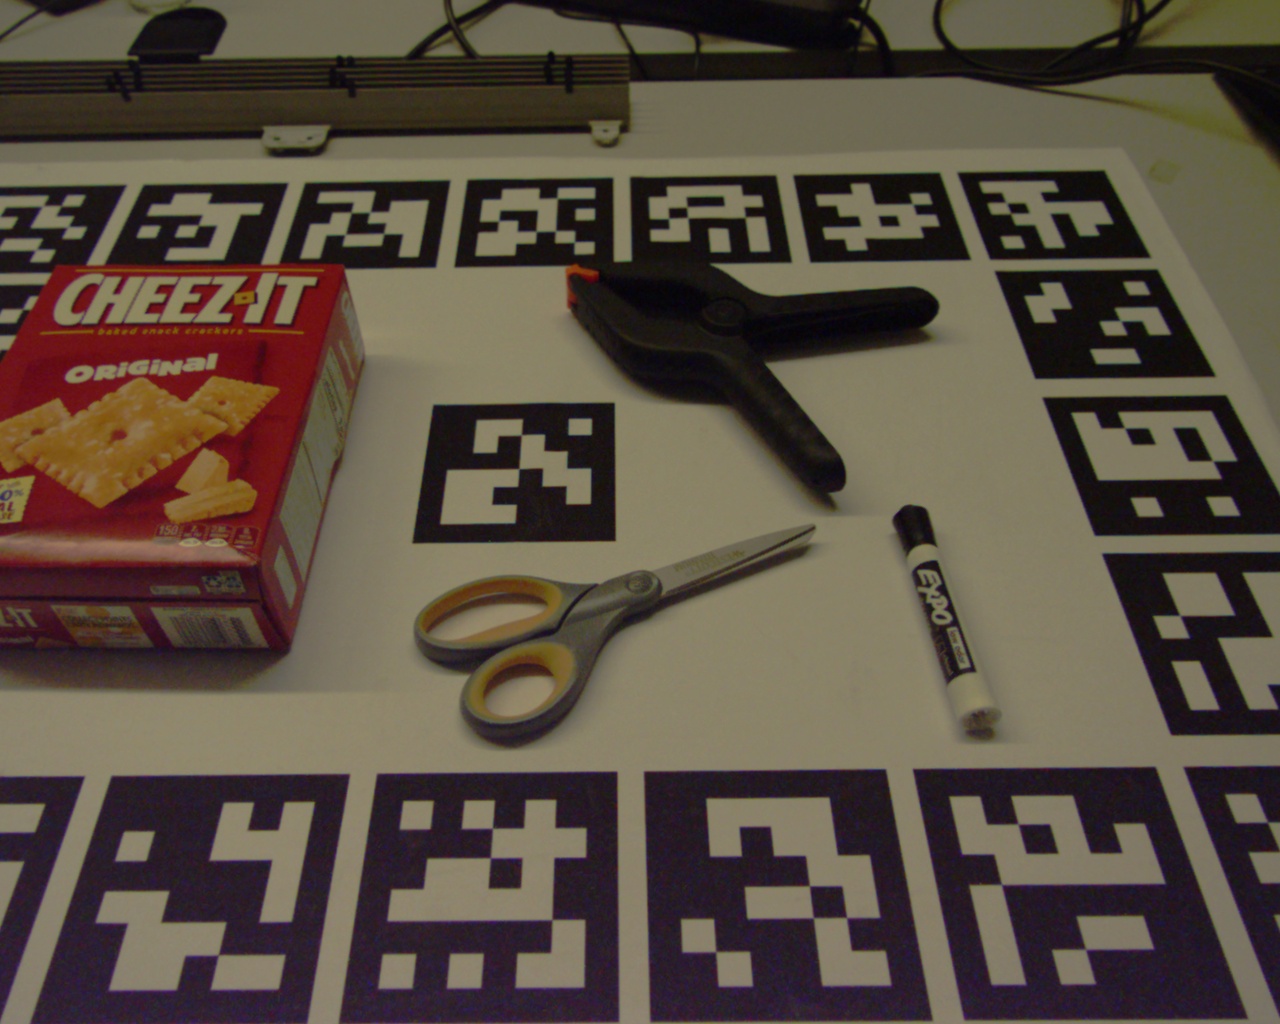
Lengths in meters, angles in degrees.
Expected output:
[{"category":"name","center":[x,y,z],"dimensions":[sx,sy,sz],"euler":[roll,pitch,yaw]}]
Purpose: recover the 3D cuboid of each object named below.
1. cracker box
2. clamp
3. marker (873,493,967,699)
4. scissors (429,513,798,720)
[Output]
[{"category":"cracker box","center":[-0.240,-0.039,0.608],"dimensions":[0.164,0.072,0.214],"euler":[0,48,1]},{"category":"clamp","center":[0.040,-0.101,0.699],"dimensions":[0.205,0.036,0.164],"euler":[23,51,20]},{"category":"marker","center":[0.136,0.037,0.563],"dimensions":[0.019,0.019,0.122],"euler":[-4,47,-3]},{"category":"scissors","center":[-0.006,0.035,0.569],"dimensions":[0.201,0.016,0.089],"euler":[-22,50,-21]}]
